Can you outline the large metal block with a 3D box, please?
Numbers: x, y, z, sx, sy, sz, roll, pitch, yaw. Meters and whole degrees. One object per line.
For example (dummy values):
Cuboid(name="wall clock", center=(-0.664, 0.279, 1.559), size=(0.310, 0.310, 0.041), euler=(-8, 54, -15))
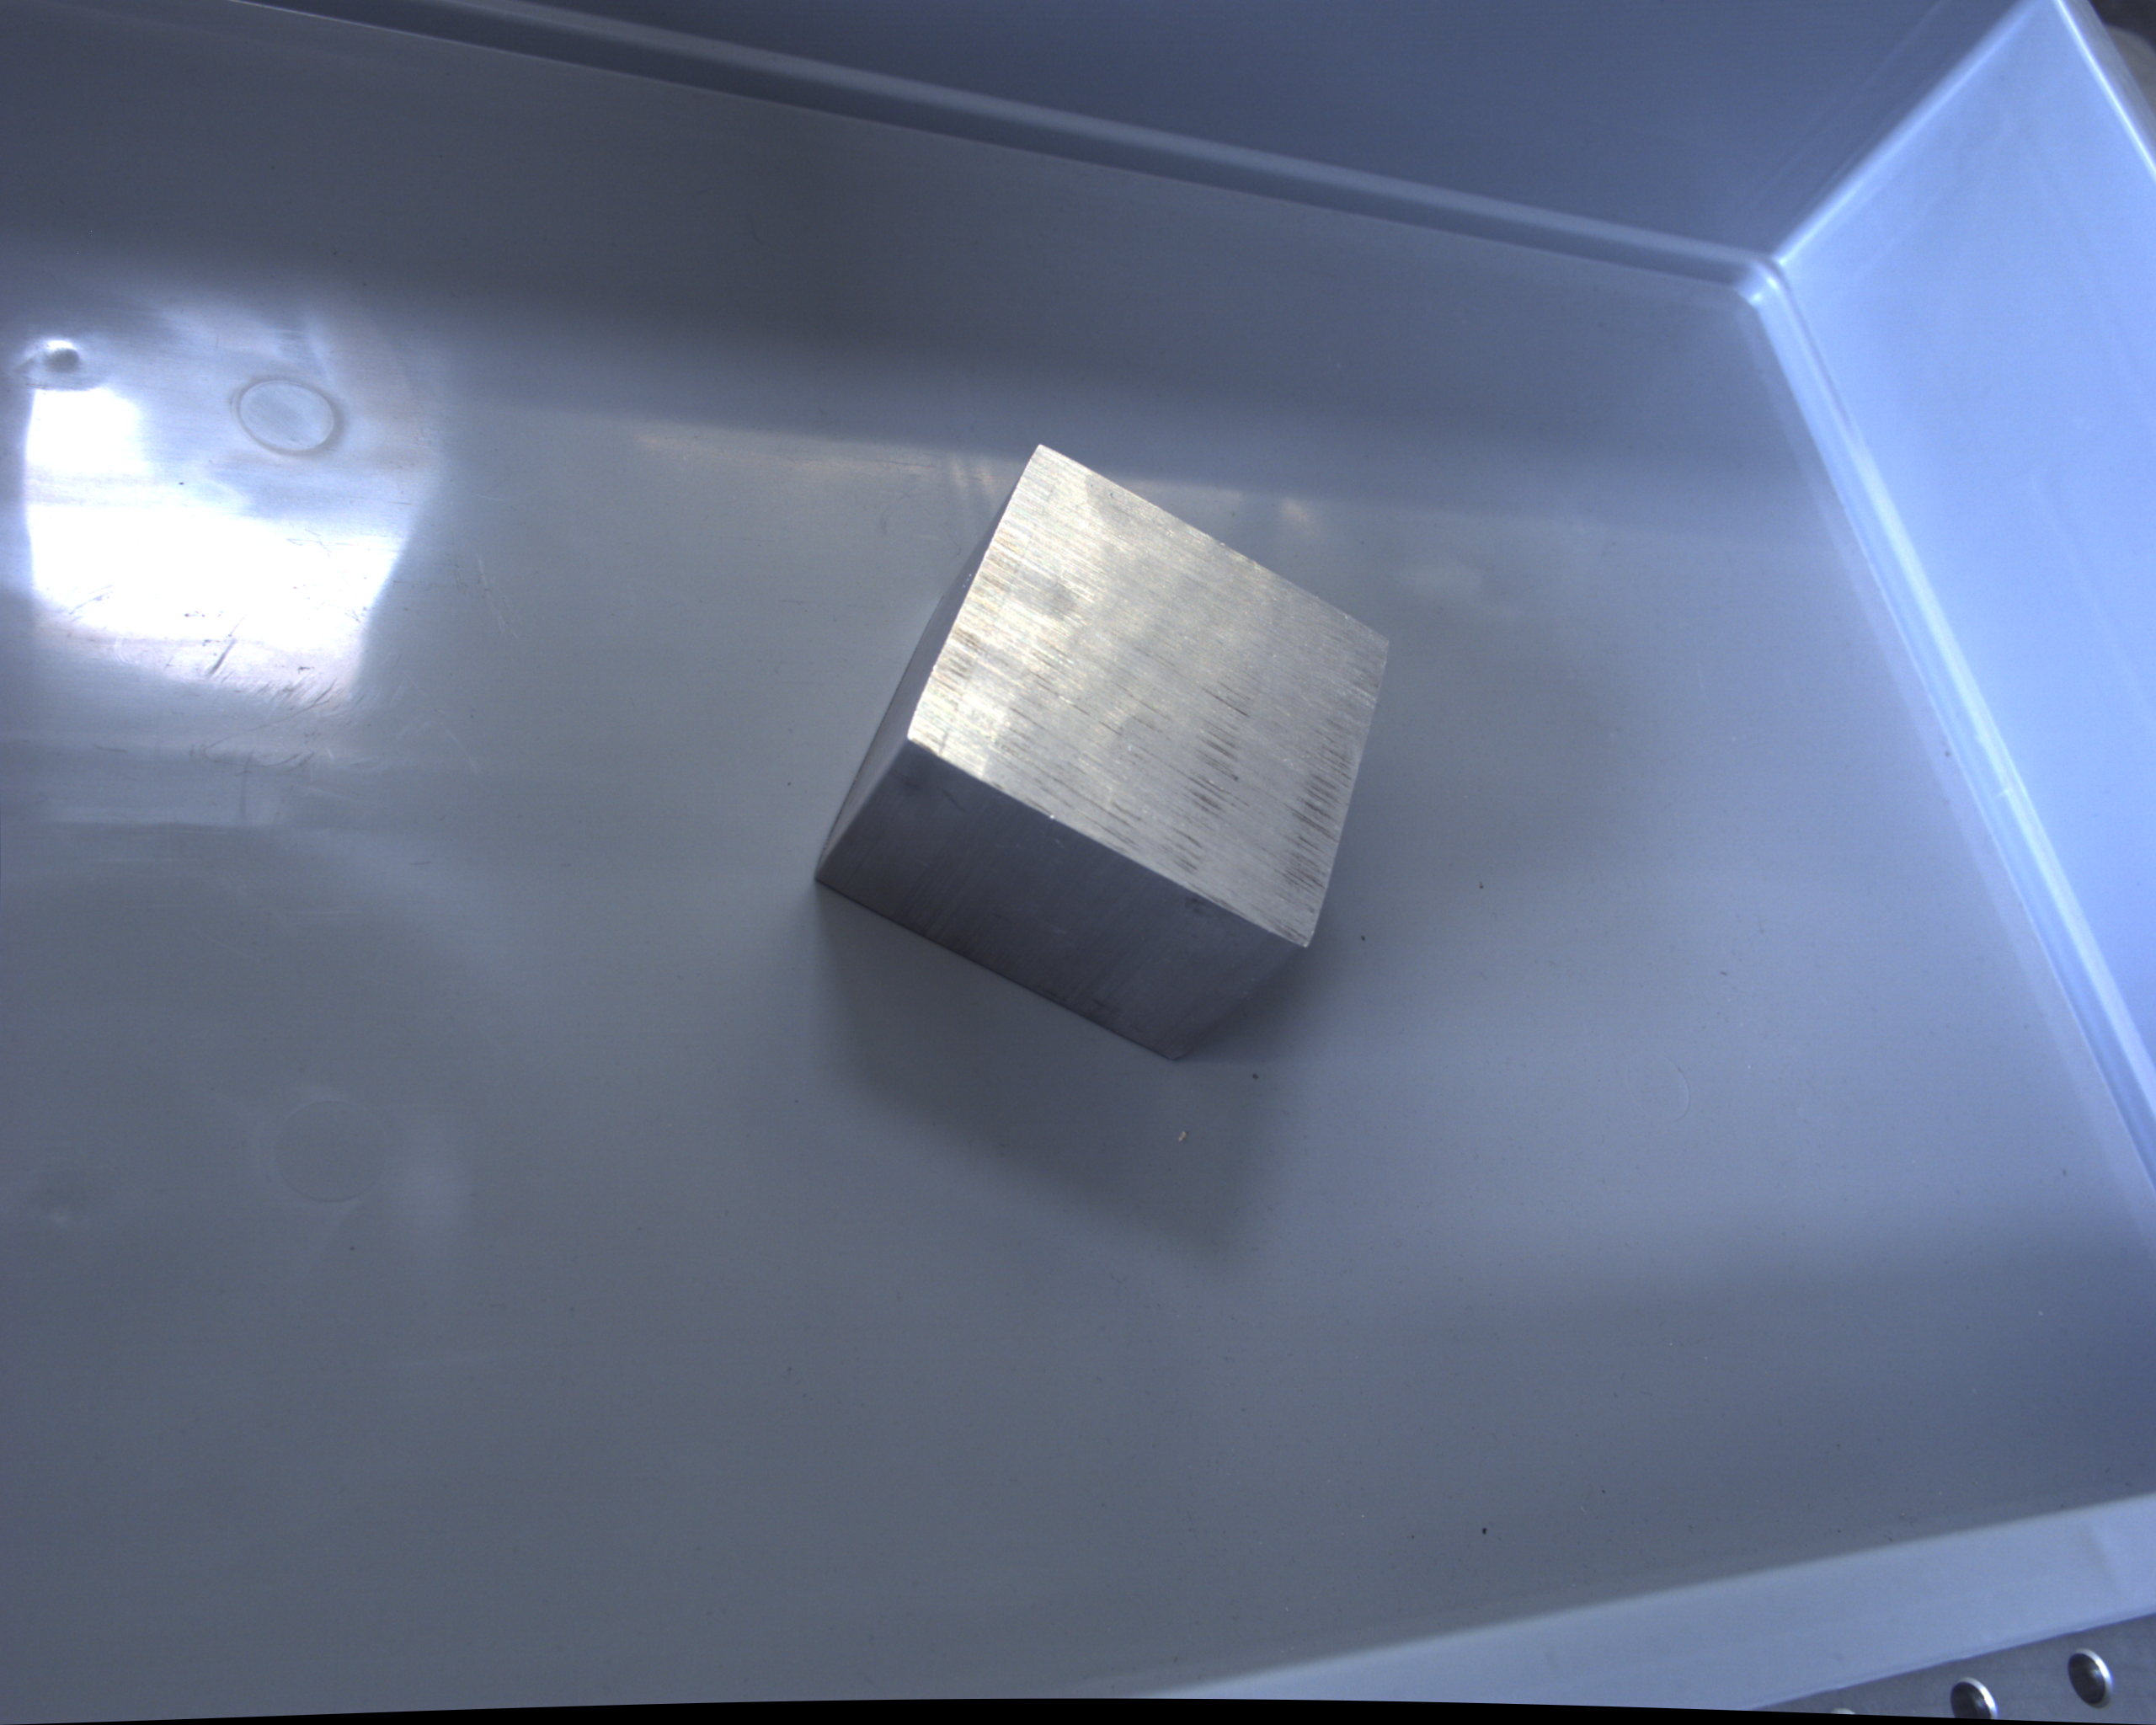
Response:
Cuboid(name="large metal block", center=(0.006, -0.021, 0.401), size=(0.080, 0.050, 0.080), euler=(28, 52, -11))
